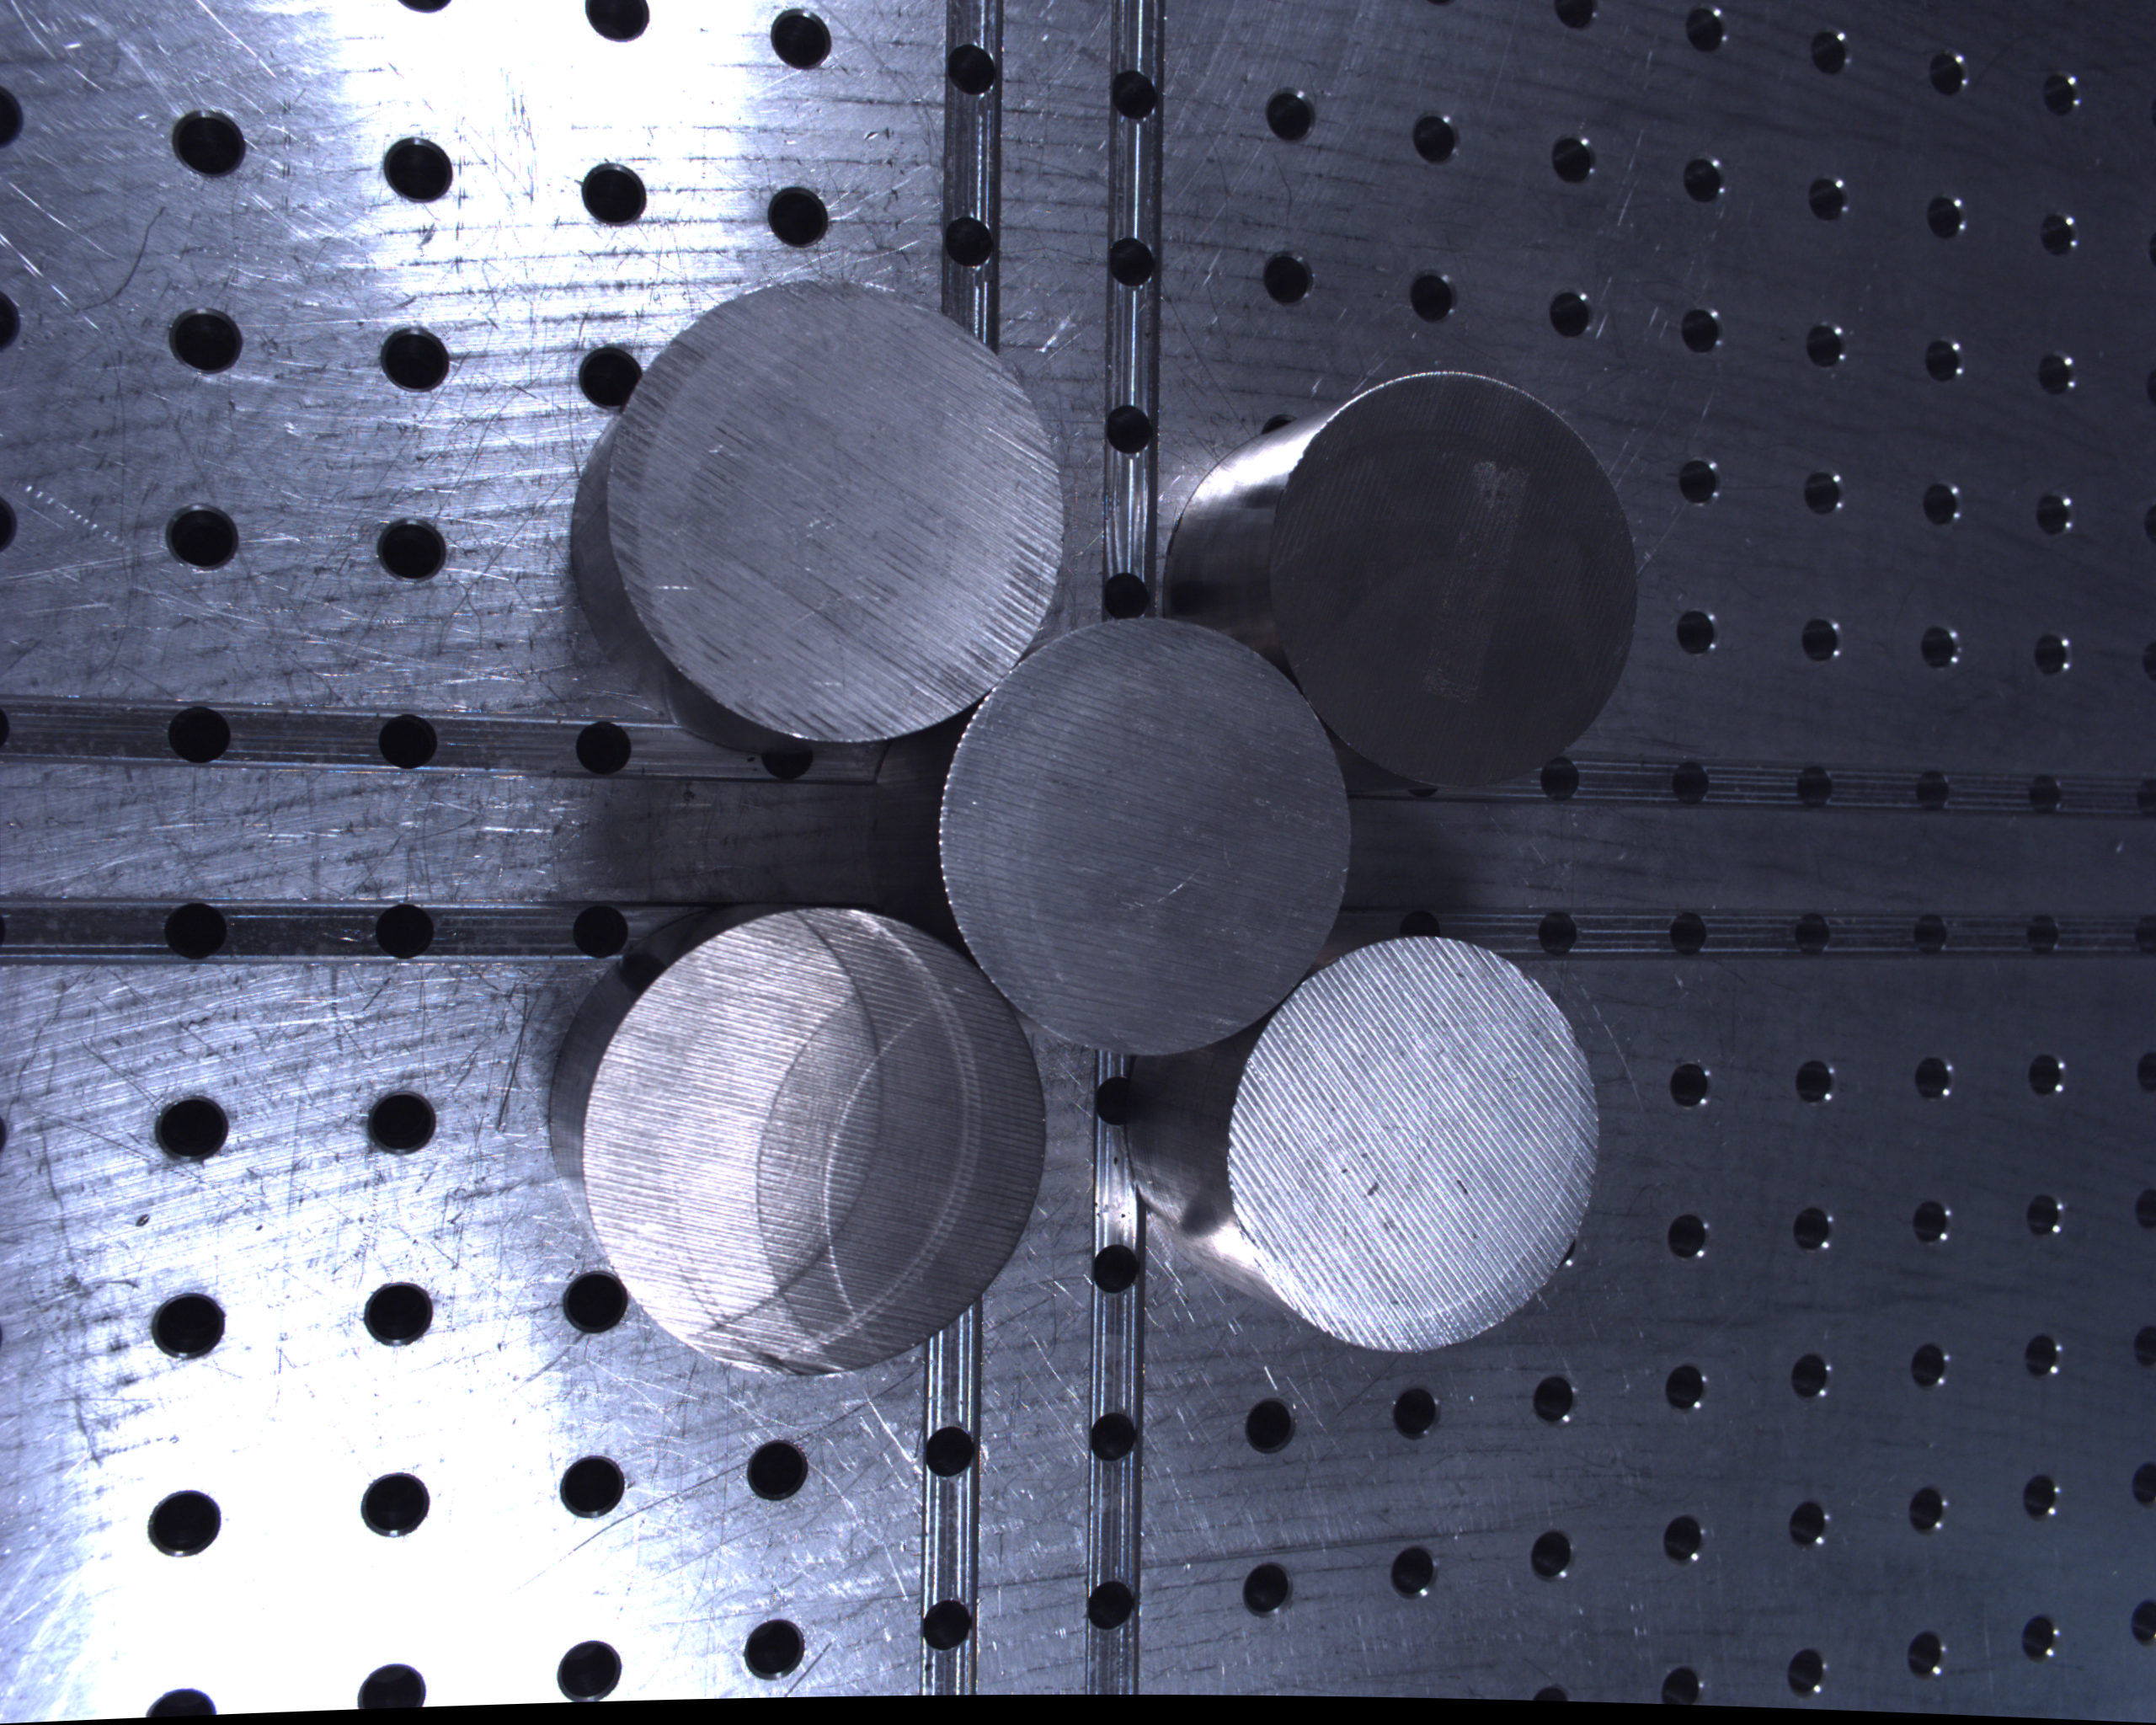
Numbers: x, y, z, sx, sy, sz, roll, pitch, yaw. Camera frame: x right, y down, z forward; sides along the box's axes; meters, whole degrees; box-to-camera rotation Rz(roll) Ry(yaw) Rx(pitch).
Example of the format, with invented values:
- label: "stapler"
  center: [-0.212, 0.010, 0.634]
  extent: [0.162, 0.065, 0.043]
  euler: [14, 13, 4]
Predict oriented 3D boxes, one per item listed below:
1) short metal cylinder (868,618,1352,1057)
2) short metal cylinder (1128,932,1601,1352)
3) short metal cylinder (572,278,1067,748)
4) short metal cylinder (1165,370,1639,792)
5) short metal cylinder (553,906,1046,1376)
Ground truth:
- label: "short metal cylinder"
  center: [0.005, -0.005, 0.402]
  extent: [0.081, 0.050, 0.079]
  euler: [0, 90, -21]
- label: "short metal cylinder"
  center: [0.057, 0.053, 0.421]
  extent: [0.081, 0.050, 0.079]
  euler: [0, 90, -21]
- label: "short metal cylinder"
  center: [-0.048, -0.061, 0.381]
  extent: [0.081, 0.050, 0.079]
  euler: [0, 90, -21]
- label: "short metal cylinder"
  center: [0.065, -0.054, 0.422]
  extent: [0.081, 0.050, 0.079]
  euler: [0, 90, -21]
- label: "short metal cylinder"
  center: [-0.052, 0.048, 0.380]
  extent: [0.081, 0.050, 0.079]
  euler: [0, 90, -21]
